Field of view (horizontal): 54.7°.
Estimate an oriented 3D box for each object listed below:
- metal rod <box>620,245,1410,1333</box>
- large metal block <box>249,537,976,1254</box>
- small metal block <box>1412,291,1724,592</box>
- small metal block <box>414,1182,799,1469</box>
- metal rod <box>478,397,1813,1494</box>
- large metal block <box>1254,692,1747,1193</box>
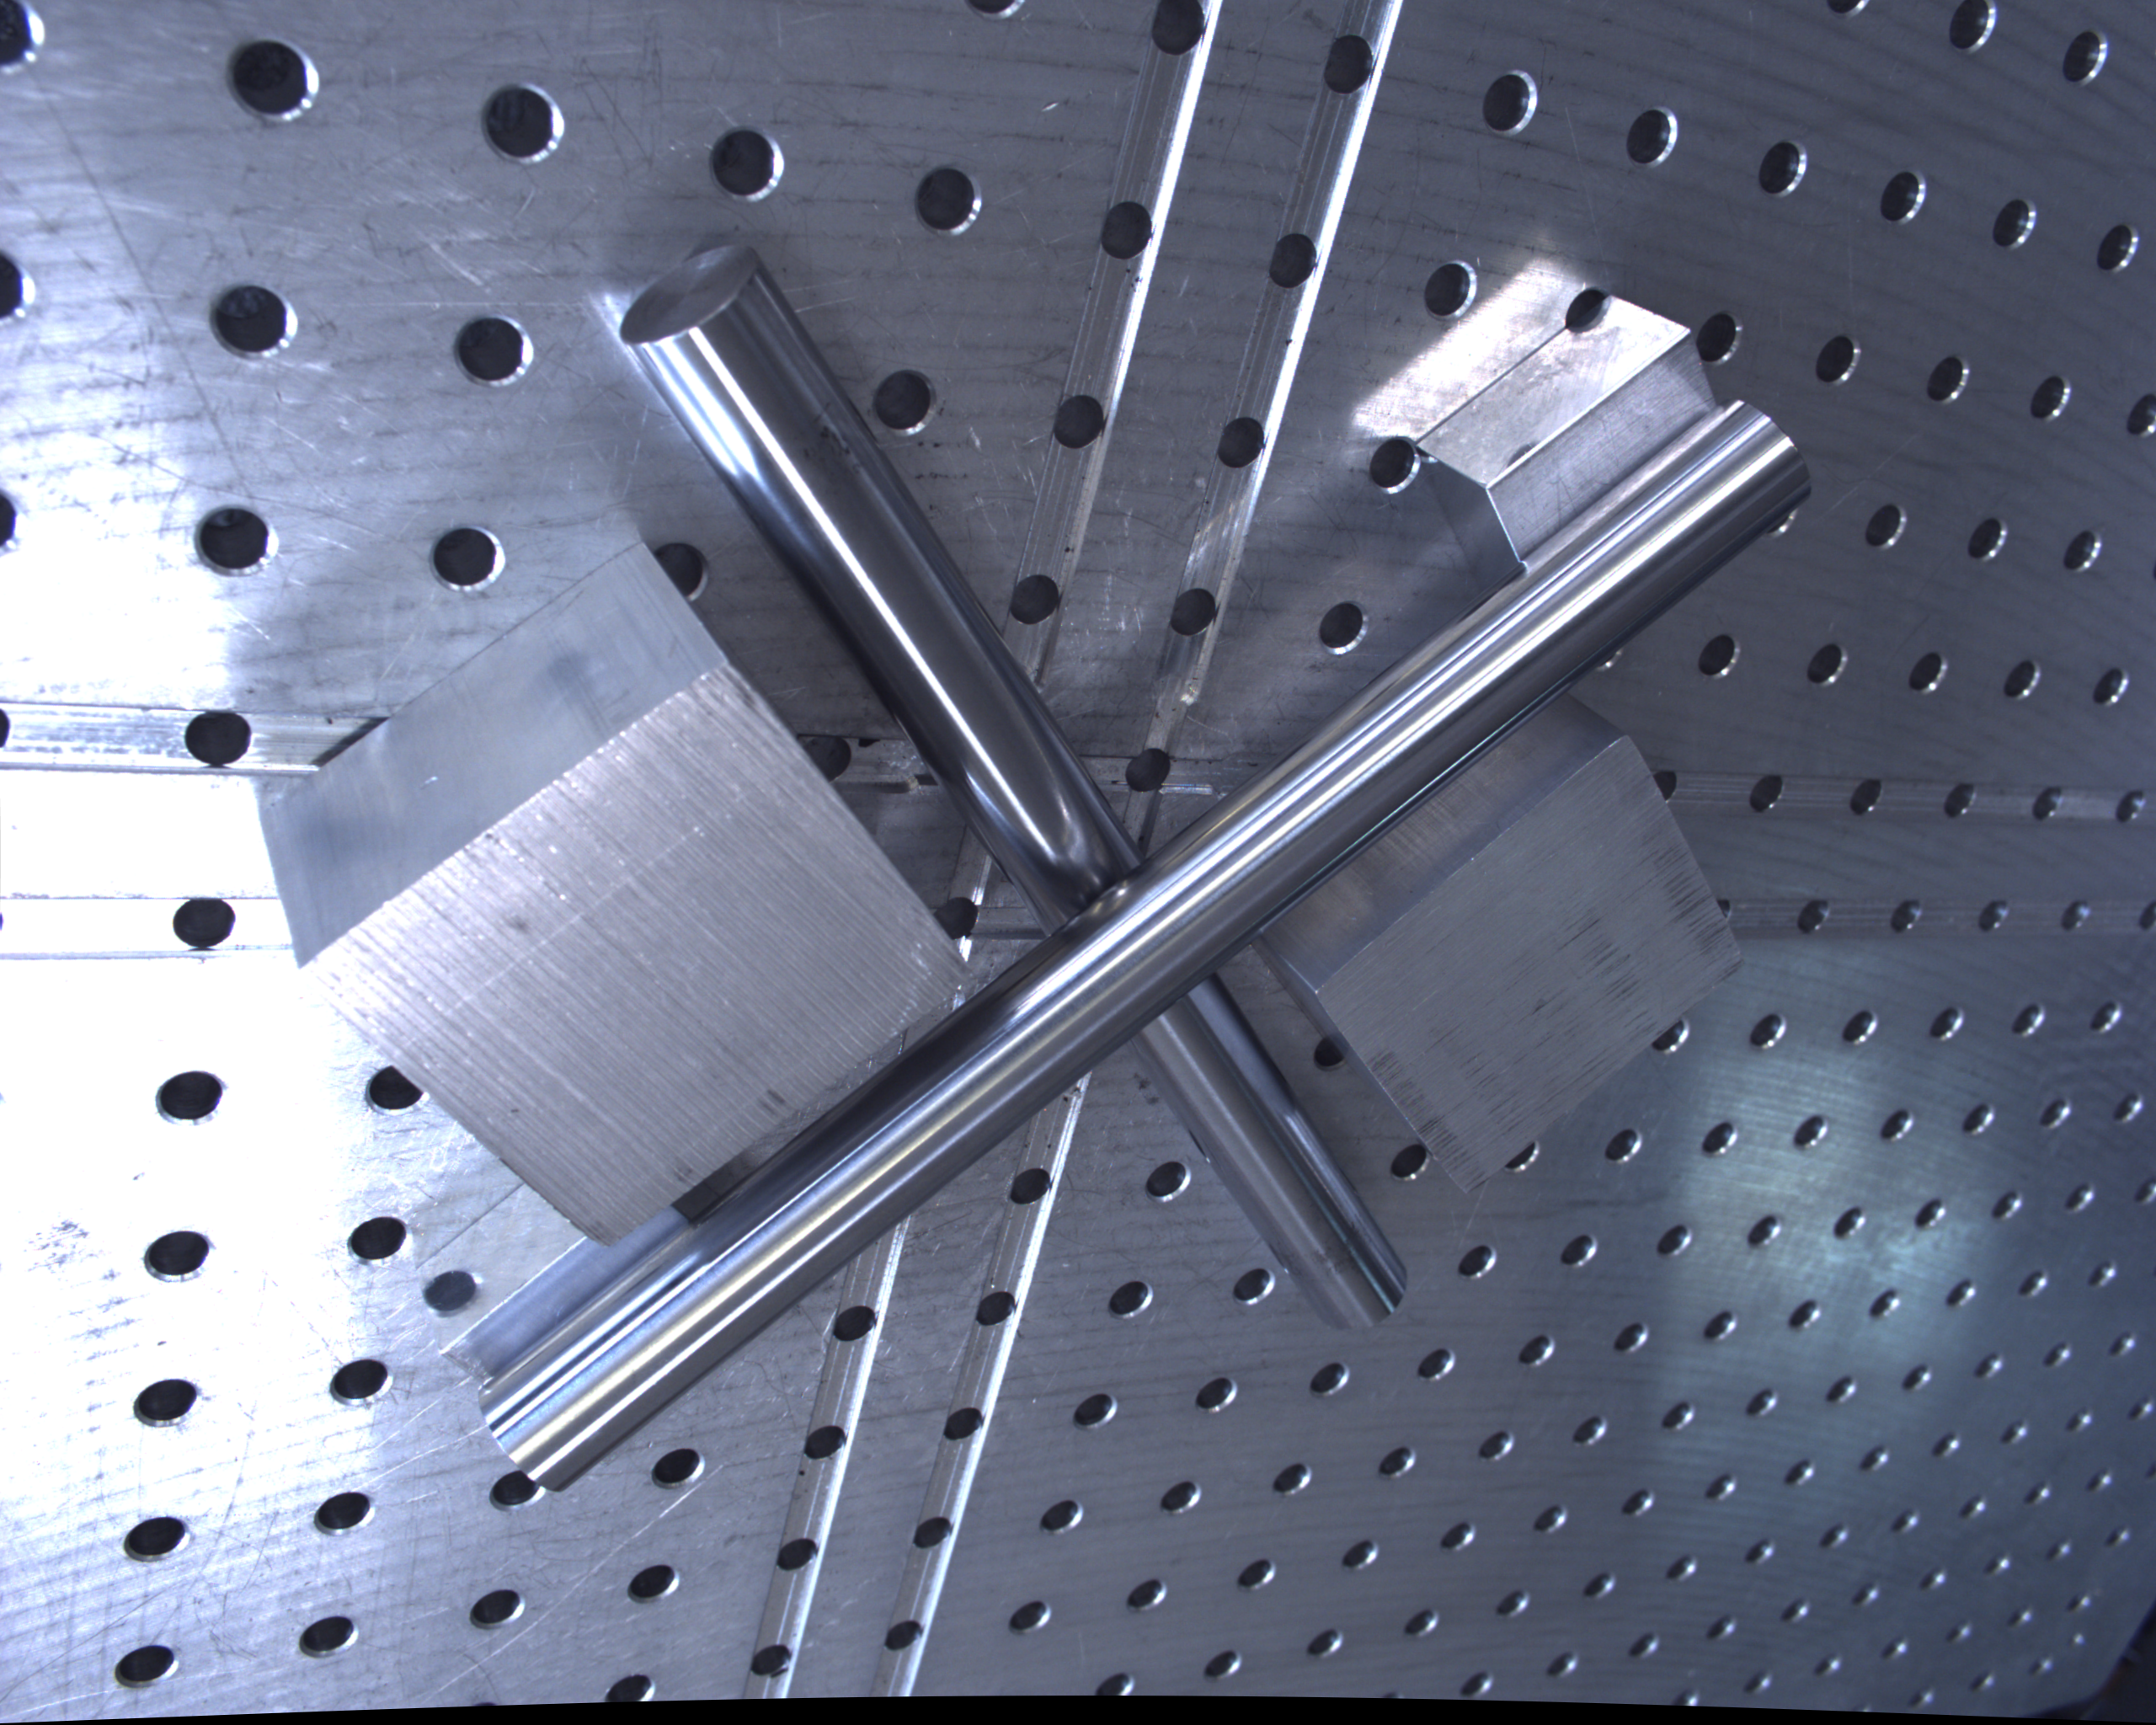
[{"bbox_3d":[0.005,0.008,0.417,0.025,0.025,0.300,-37,129,-4],"label":"metal rod"},{"bbox_3d":[-0.078,0.006,0.356,0.080,0.050,0.080,-37,129,-3],"label":"large metal block"},{"bbox_3d":[0.103,-0.077,0.420,0.050,0.025,0.050,-38,129,-3],"label":"small metal block"},{"bbox_3d":[-0.093,0.085,0.413,0.050,0.025,0.050,-39,129,-2],"label":"small metal block"},{"bbox_3d":[0.014,0.014,0.395,0.301,0.025,0.025,-38,129,-2],"label":"metal rod"},{"bbox_3d":[0.085,0.011,0.448,0.080,0.050,0.080,-40,129,-1],"label":"large metal block"}]
